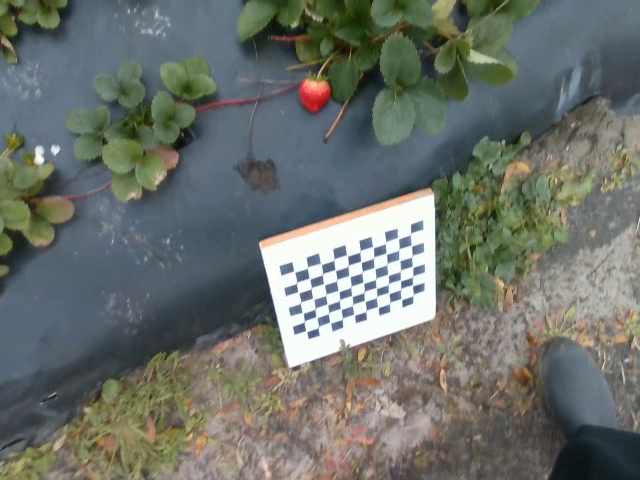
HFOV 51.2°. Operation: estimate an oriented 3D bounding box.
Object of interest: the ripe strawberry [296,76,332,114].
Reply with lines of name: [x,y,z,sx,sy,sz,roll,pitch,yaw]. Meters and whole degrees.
ripe strawberry: [-0.009,-0.246,1.170,0.061,0.065,0.050,-10,31,-20]
